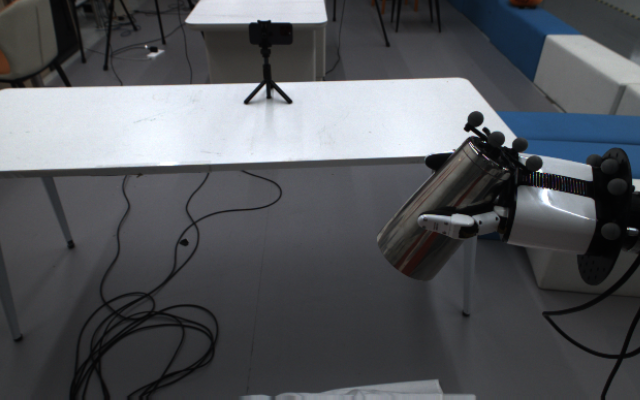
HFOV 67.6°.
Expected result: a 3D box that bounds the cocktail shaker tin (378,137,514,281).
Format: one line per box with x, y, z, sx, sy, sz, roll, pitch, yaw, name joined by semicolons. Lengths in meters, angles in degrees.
0.155;0.004;0.592;0.093;0.170;0.093;26;32;-17;cocktail shaker tin
